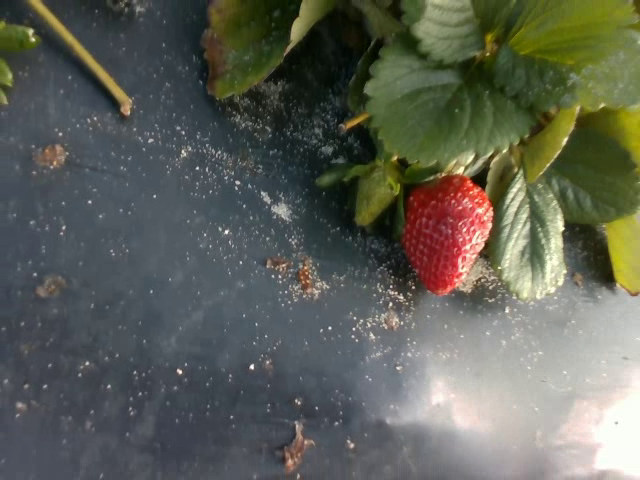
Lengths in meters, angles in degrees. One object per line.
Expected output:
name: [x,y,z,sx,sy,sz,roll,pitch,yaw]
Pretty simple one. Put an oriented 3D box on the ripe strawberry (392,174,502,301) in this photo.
ripe strawberry: [0.033,0.001,0.133,0.029,0.036,0.021,9,-15,-8]
